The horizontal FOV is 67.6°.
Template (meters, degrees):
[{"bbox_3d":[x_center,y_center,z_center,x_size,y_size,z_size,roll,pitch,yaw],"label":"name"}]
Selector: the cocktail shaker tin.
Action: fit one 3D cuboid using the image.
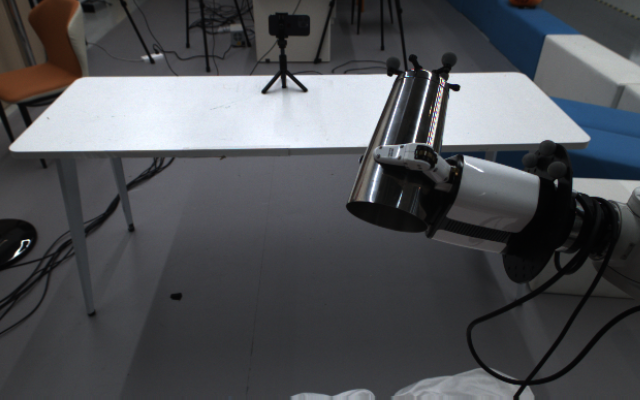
[{"bbox_3d":[0.098,-0.058,0.552,0.093,0.093,0.170,13,73,15],"label":"cocktail shaker tin"}]
